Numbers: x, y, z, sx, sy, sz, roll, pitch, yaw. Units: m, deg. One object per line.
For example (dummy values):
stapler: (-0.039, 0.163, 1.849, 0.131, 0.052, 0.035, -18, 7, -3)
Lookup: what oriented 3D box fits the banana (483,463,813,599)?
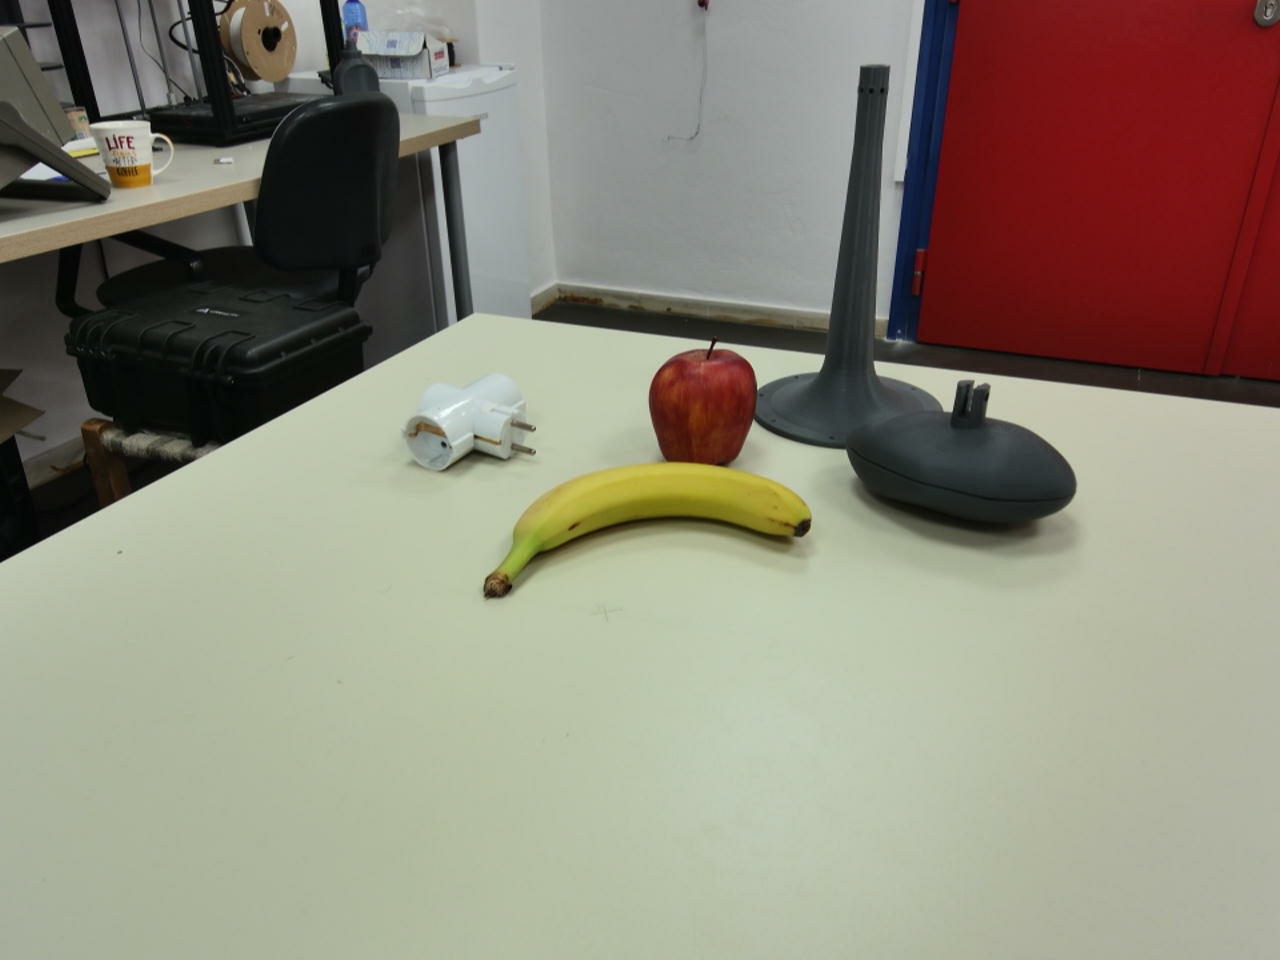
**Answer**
banana: (-0.001, 0.021, 0.609, 0.196, 0.041, 0.094, -6, 26, -10)
